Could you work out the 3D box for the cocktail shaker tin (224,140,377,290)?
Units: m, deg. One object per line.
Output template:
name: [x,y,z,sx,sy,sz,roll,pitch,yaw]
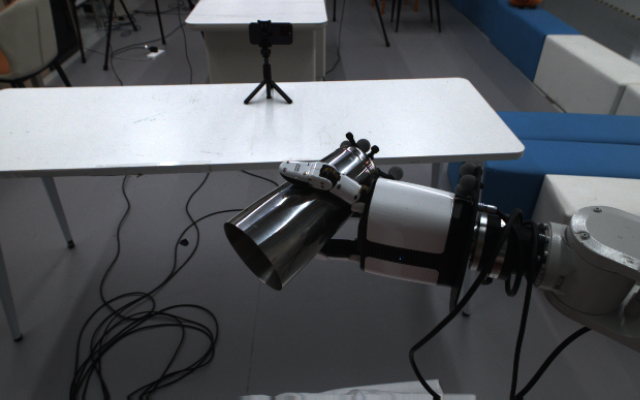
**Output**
cocktail shaker tin: [-0.011,0.006,0.545,0.170,0.093,0.093,-38,49,-23]
